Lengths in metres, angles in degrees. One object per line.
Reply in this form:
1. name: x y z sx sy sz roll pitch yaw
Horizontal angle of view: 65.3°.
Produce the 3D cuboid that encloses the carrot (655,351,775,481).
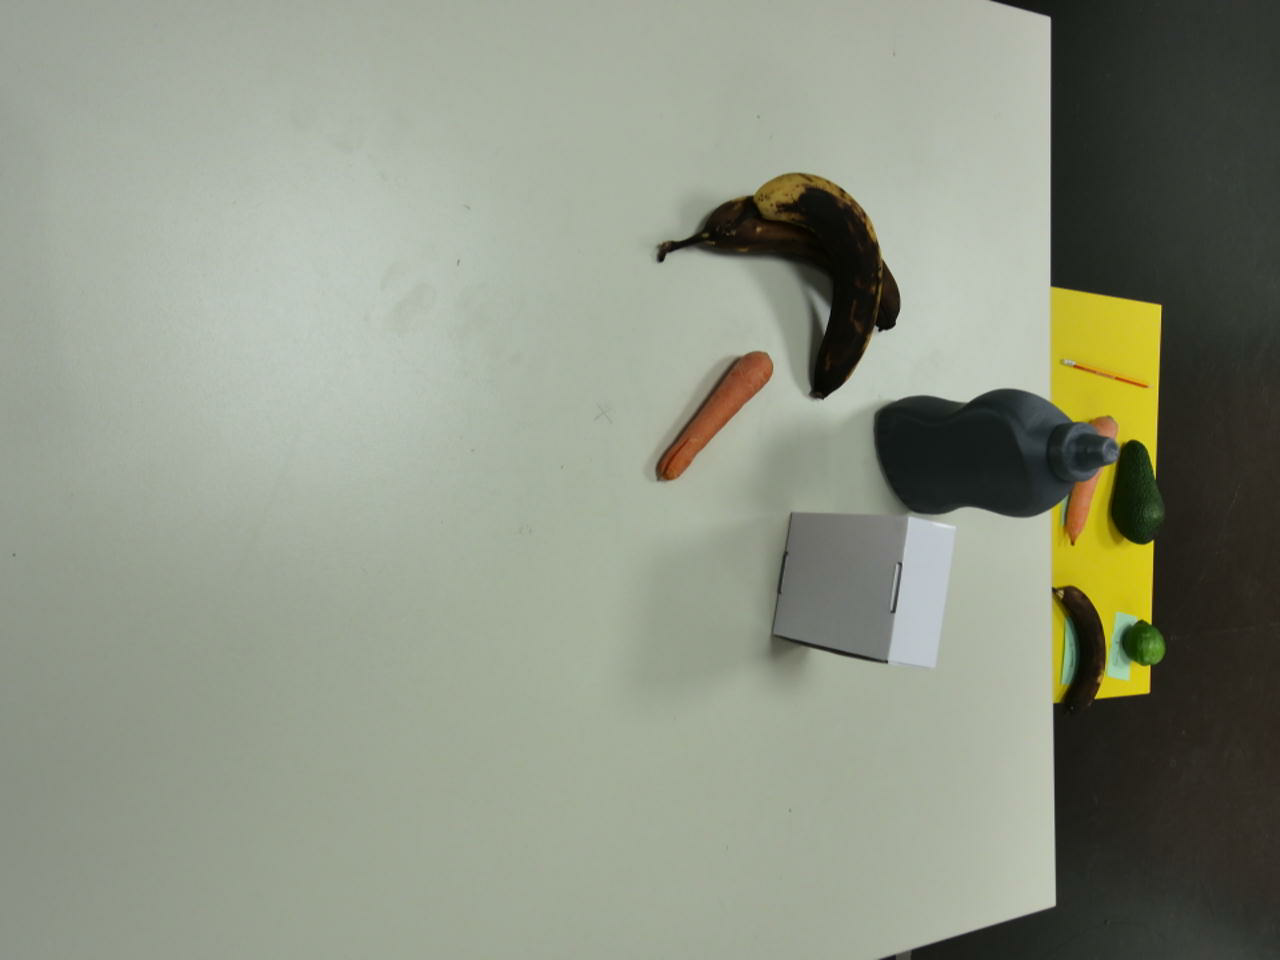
1. carrot: 0.057 -0.051 0.760 0.030 0.032 0.136 48 69 -20
